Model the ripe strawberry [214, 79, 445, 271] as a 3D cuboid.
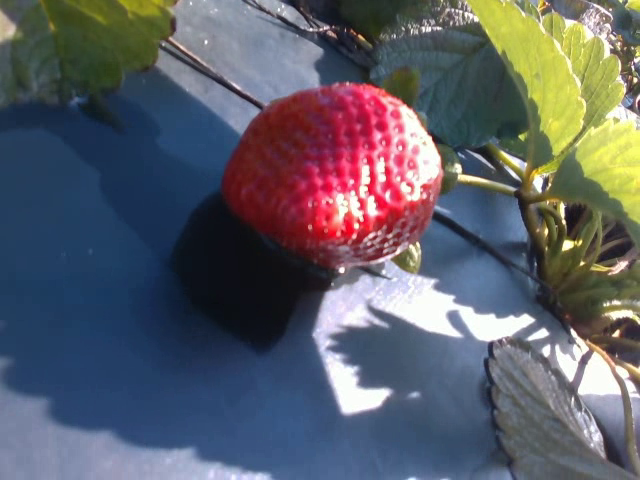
[{"bbox_3d":[0.001,-0.009,0.109,0.044,0.042,0.055,-5,17,22],"label":"ripe strawberry"}]
